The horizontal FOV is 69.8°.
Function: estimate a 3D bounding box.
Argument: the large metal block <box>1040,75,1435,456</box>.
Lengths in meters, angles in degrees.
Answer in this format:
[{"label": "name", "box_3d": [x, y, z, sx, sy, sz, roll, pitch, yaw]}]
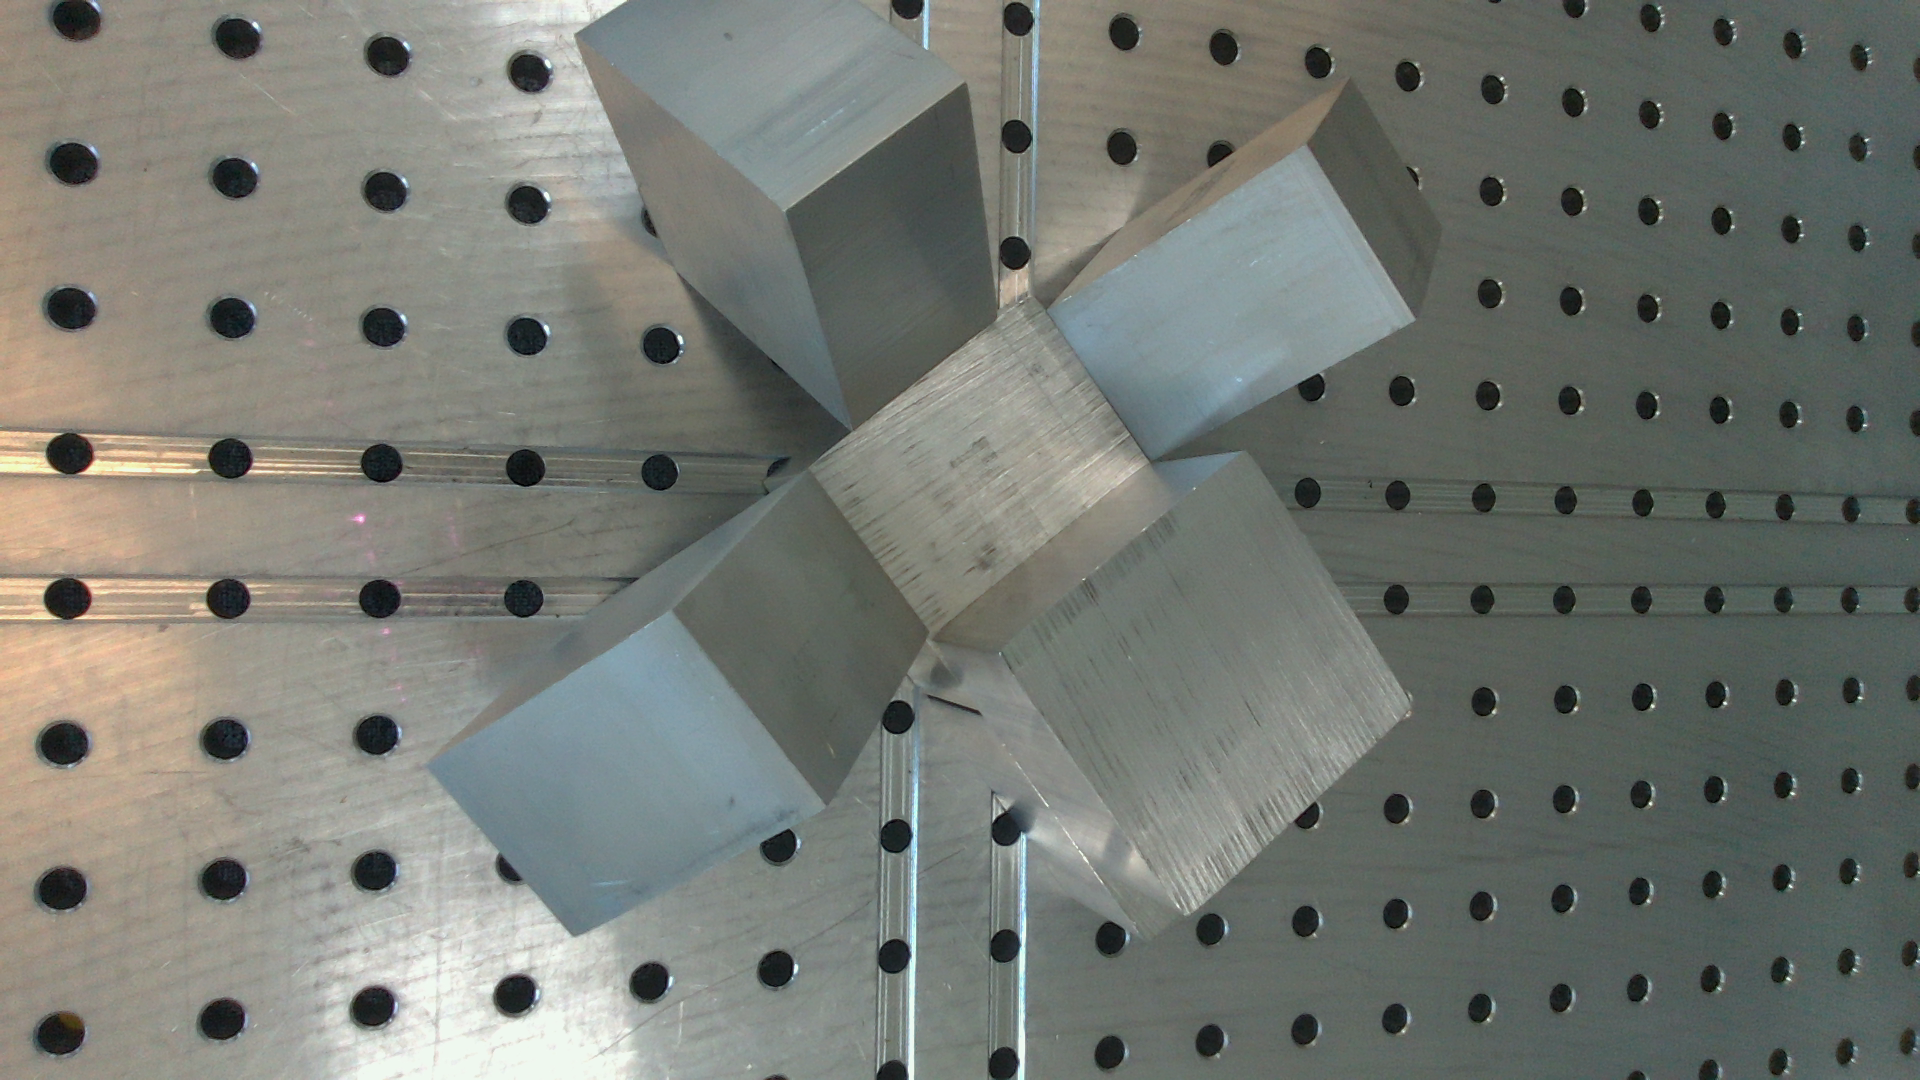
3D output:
[{"label": "large metal block", "box_3d": [0.079, -0.075, 0.379, 0.050, 0.080, 0.080, 53, 34, -12]}]

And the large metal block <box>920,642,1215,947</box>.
[{"label": "large metal block", "box_3d": [0.049, 0.055, 0.400, 0.080, 0.050, 0.080, -39, 101, -17]}]

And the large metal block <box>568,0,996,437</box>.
[{"label": "large metal block", "box_3d": [-0.040, -0.086, 0.336, 0.050, 0.080, 0.080, -39, 63, -15]}]

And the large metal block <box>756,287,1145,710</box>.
[{"label": "large metal block", "box_3d": [0.004, -0.011, 0.384, 0.080, 0.050, 0.080, -40, 103, -16]}]

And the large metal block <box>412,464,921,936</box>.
[{"label": "large metal block", "box_3d": [-0.065, 0.036, 0.327, 0.080, 0.080, 0.050, -31, 103, 25]}]

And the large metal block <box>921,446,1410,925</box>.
[{"label": "large metal block", "box_3d": [0.051, 0.034, 0.347, 0.080, 0.050, 0.080, -39, 103, -17]}]
